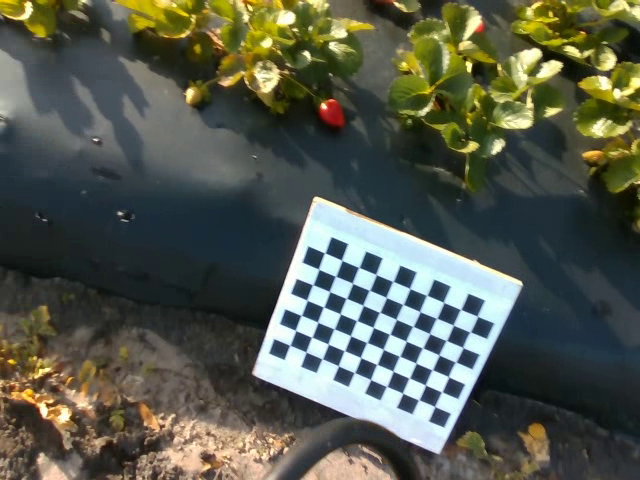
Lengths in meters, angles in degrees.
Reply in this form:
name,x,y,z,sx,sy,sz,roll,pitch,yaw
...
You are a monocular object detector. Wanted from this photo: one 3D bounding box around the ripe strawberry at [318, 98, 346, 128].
name,x,y,z,sx,sy,sz,roll,pitch,yaw
ripe strawberry,0.020,-0.153,1.578,0.030,0.045,0.033,-38,-21,5
